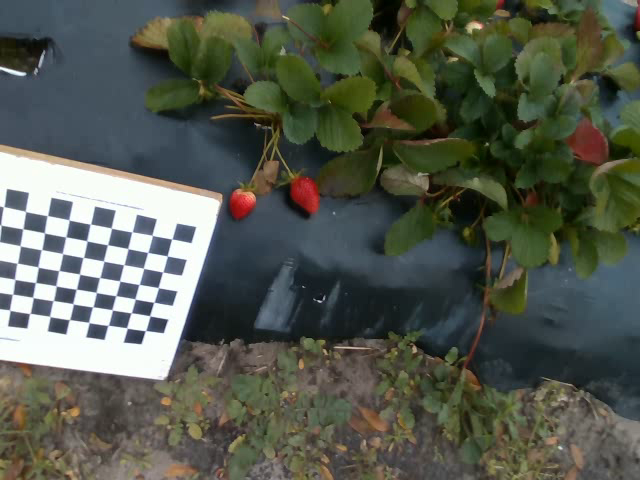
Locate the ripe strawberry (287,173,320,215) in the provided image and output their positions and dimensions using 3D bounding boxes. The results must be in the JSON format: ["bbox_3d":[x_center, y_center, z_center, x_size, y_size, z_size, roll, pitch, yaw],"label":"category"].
[{"bbox_3d":[-0.020,-0.057,0.767,0.044,0.059,0.042,-24,9,15],"label":"ripe strawberry"}]

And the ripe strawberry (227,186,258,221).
[{"bbox_3d":[-0.095,-0.044,0.744,0.036,0.041,0.027,16,7,-10],"label":"ripe strawberry"}]
